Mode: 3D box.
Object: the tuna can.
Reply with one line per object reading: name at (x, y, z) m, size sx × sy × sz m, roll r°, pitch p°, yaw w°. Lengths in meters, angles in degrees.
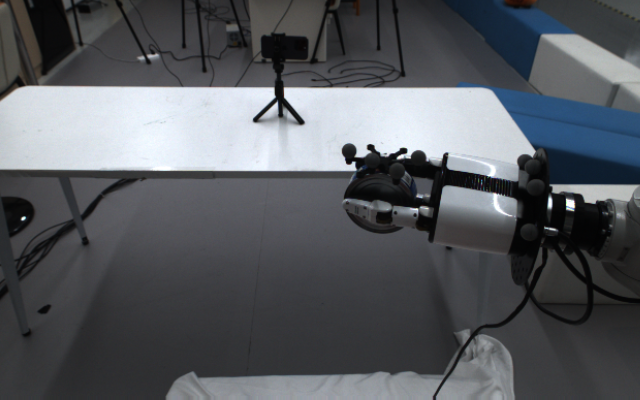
tuna can at (0.076, -0.006, 0.587) m, size 0.085 × 0.085 × 0.034 m, roll 10°, pitch 34°, yaw 11°
